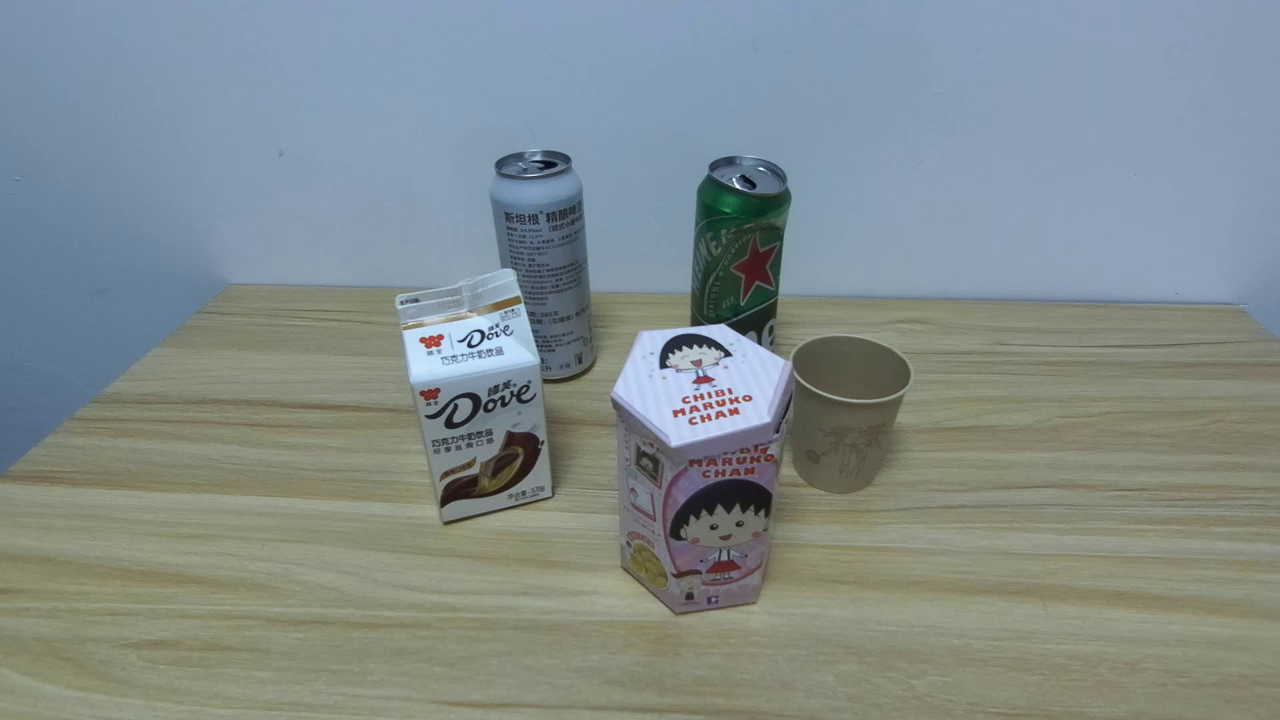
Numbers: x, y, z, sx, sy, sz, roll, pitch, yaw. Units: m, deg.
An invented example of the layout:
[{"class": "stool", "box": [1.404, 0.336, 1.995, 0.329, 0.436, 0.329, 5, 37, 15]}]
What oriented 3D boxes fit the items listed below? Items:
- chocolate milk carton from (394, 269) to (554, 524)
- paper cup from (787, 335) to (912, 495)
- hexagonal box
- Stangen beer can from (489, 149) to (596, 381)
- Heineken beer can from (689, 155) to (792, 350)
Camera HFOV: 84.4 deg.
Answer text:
[{"class": "chocolate milk carton", "box": [-0.102, 0.016, 0.439, 0.075, 0.148, 0.074, -11, 34, -16]}, {"class": "paper cup", "box": [0.130, 0.038, 0.455, 0.075, 0.082, 0.075, -1, 35, 1]}, {"class": "hexagonal box", "box": [0.033, 0.058, 0.379, 0.092, 0.135, 0.085, -6, 35, -6]}, {"class": "Stangen beer can", "box": [-0.072, -0.068, 0.542, 0.067, 0.171, 0.067, -2, 31, 2]}, {"class": "Heineken beer can", "box": [0.073, -0.059, 0.522, 0.068, 0.168, 0.069, 1, 35, 1]}]
